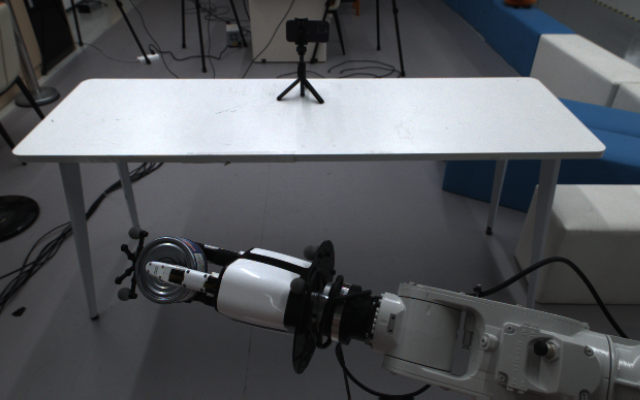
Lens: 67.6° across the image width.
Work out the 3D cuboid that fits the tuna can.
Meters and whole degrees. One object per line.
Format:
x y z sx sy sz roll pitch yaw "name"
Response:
-0.188 0.089 0.617 0.085 0.085 0.034 10 -5 11 "tuna can"
